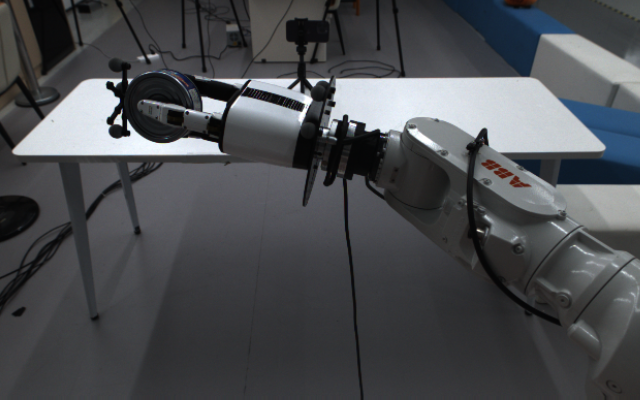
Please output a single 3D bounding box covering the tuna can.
[{"bbox_3d":[-0.184,-0.109,0.576,0.085,0.085,0.034,4,19,3],"label":"tuna can"}]
